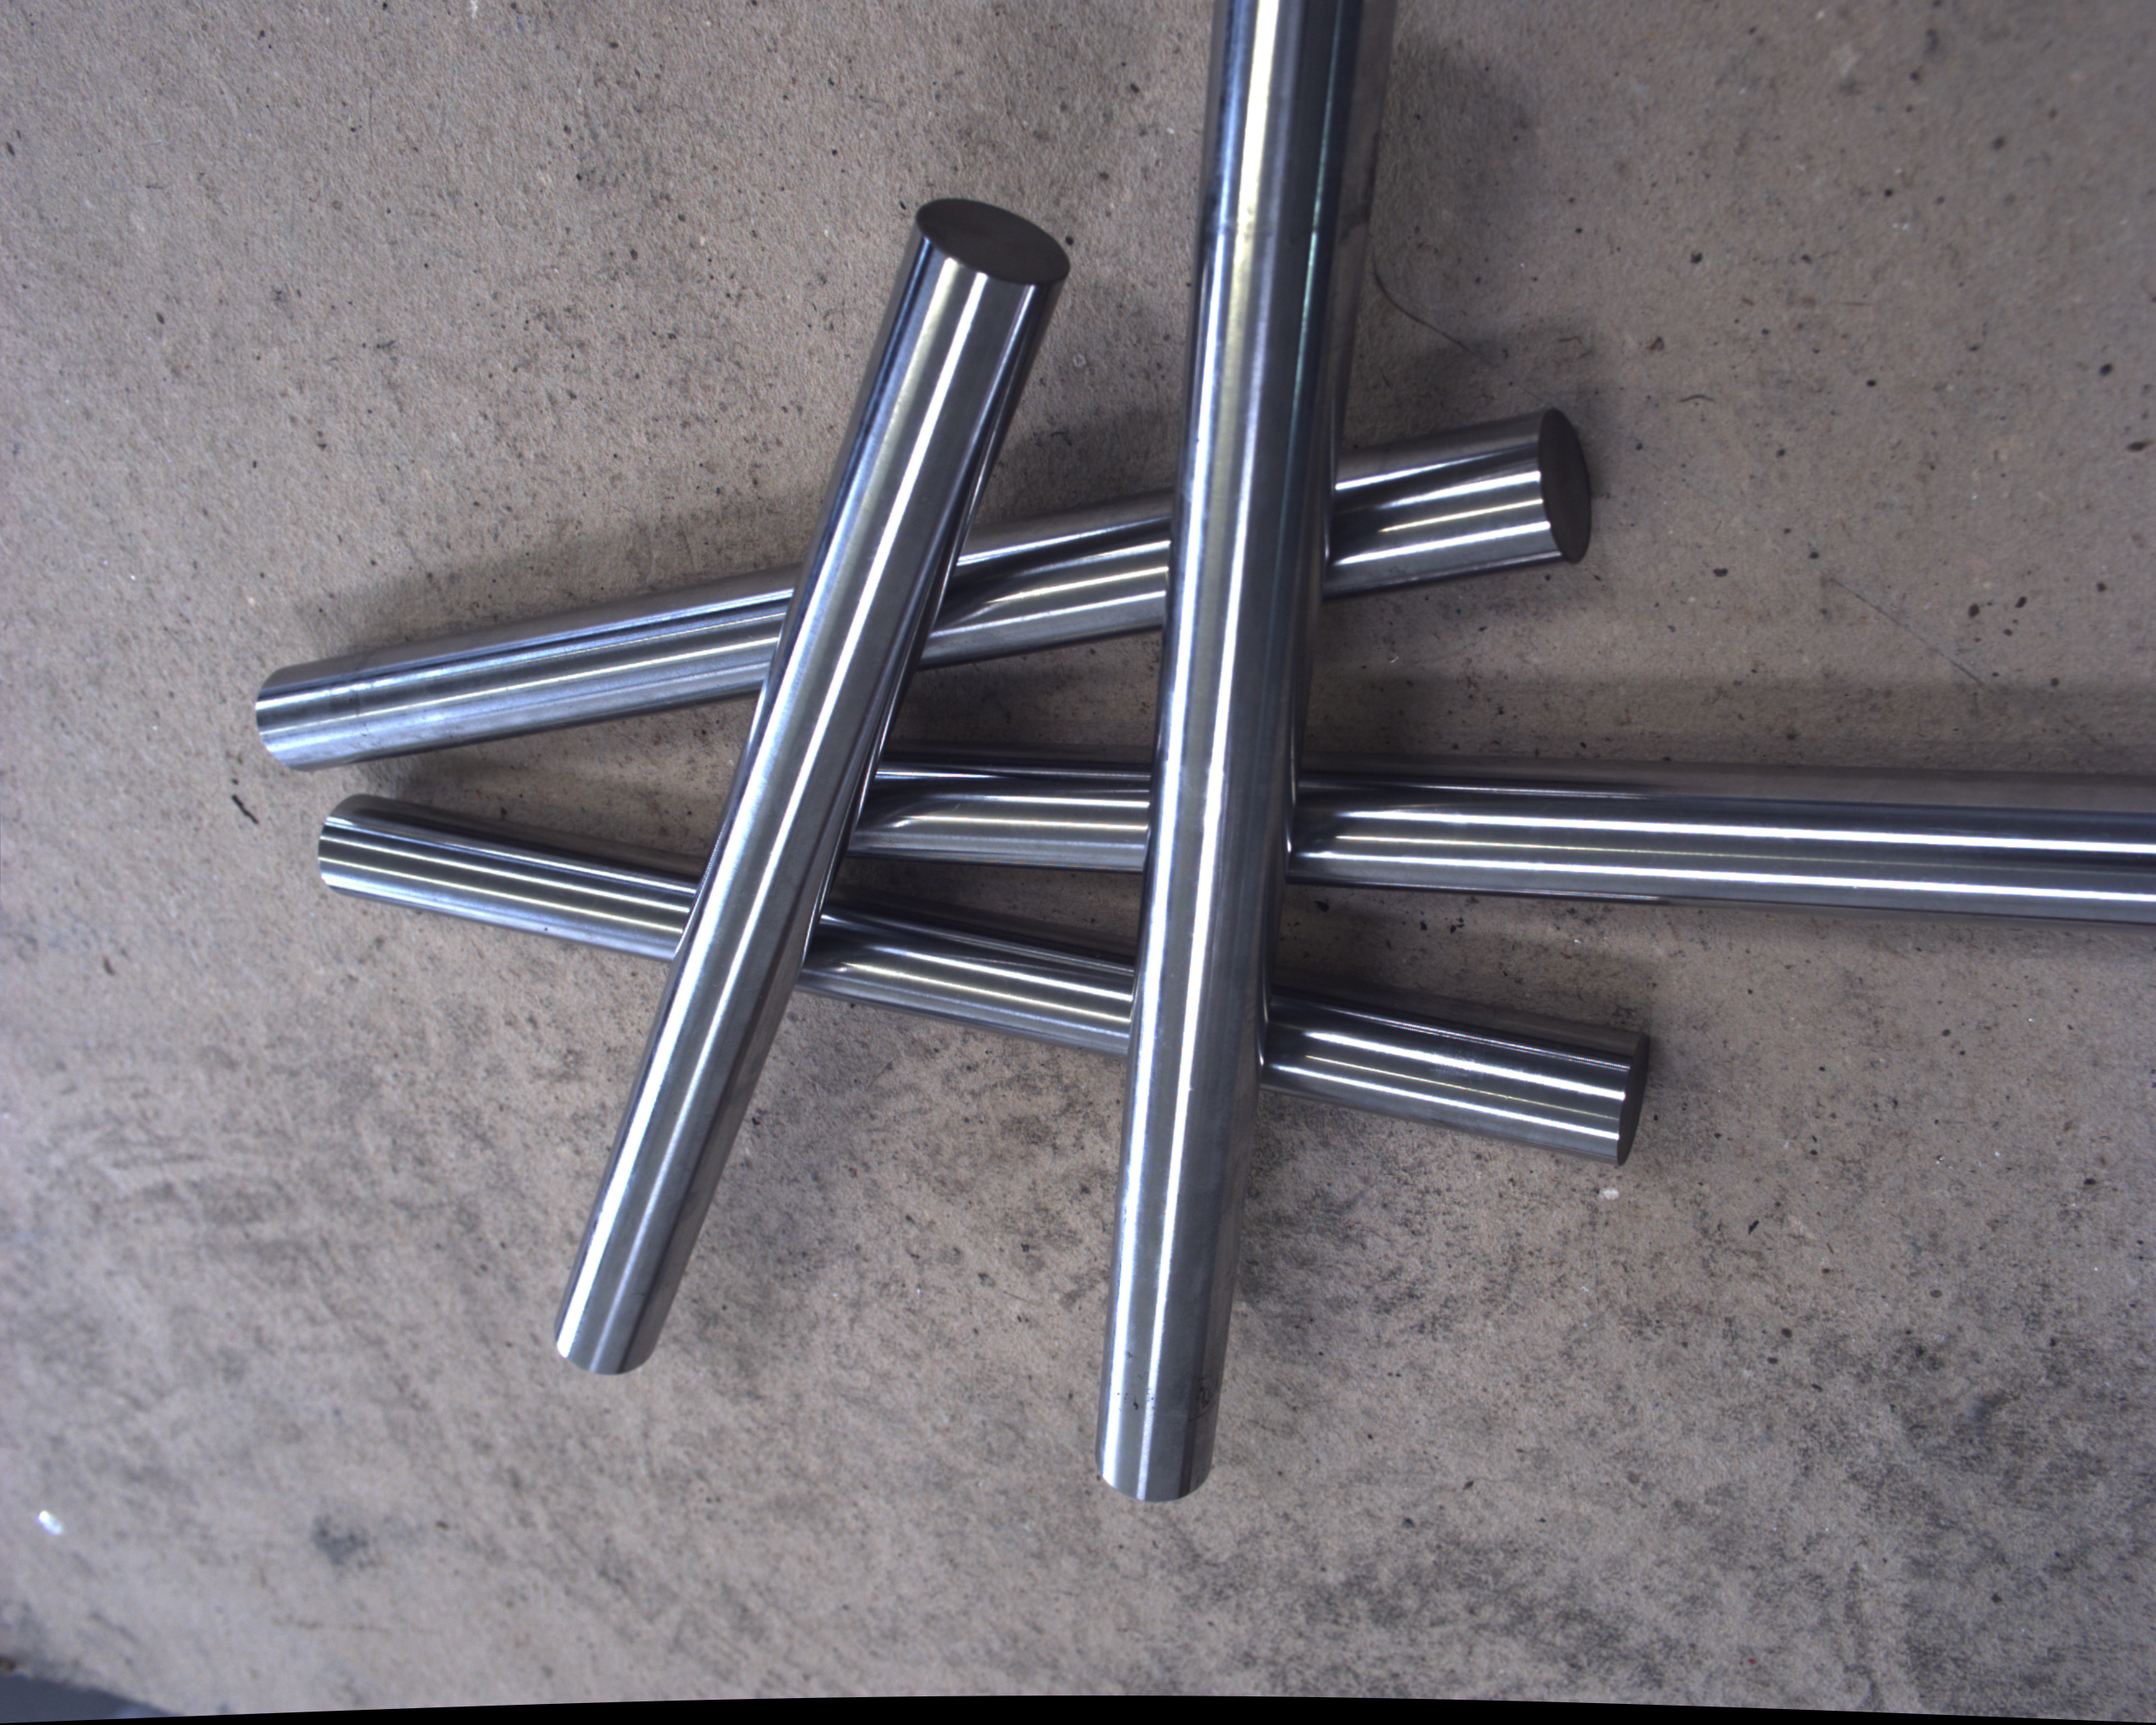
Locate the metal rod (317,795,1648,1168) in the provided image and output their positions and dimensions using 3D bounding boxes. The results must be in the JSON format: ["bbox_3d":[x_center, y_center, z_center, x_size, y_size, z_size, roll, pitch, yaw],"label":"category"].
[{"bbox_3d":[-0.035,0.020,0.439,0.301,0.025,0.025,10,123,23],"label":"metal rod"}]

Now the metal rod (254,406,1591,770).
[{"bbox_3d":[-0.051,-0.047,0.407,0.300,0.025,0.025,-6,116,30],"label":"metal rod"}]

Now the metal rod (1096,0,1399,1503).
[{"bbox_3d":[0.024,0.002,0.365,0.025,0.025,0.298,16,125,19],"label":"metal rod"}]

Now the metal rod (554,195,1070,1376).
[{"bbox_3d":[-0.064,0.009,0.415,0.025,0.025,0.298,32,129,7],"label":"metal rod"}]

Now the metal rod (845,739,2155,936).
[{"bbox_3d":[0.073,-0.006,0.366,0.301,0.025,0.025,3,120,26],"label":"metal rod"}]
